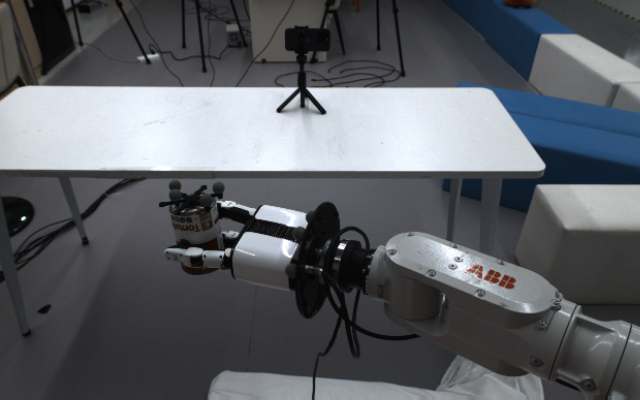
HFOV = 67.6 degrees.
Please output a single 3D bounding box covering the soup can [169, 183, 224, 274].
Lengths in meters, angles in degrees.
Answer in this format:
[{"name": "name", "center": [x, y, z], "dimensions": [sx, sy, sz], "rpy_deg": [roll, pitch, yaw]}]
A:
[{"name": "soup can", "center": [-0.177, 0.050, 0.708], "dimensions": [0.067, 0.101, 0.067], "rpy_deg": [-4, 26, 2]}]
